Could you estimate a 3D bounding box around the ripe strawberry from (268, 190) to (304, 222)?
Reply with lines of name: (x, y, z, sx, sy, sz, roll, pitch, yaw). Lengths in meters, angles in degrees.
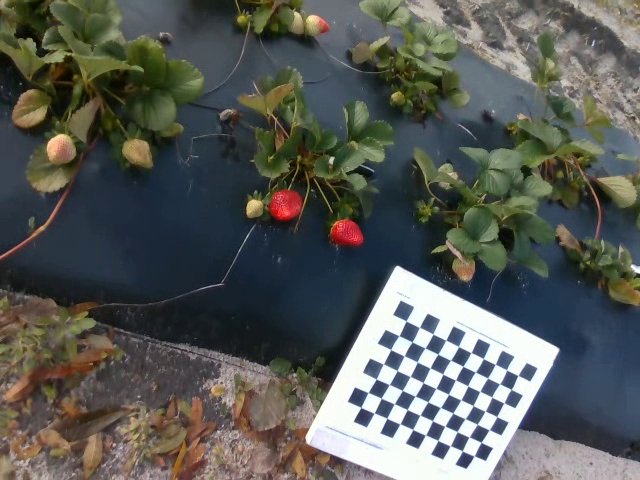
ripe strawberry: (-0.027, -0.033, 0.632, 0.035, 0.041, 0.036, 12, 31, -13)

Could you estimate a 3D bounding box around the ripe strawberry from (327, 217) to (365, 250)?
ripe strawberry: (0.033, -0.007, 0.657, 0.033, 0.038, 0.039, 36, 10, -38)
